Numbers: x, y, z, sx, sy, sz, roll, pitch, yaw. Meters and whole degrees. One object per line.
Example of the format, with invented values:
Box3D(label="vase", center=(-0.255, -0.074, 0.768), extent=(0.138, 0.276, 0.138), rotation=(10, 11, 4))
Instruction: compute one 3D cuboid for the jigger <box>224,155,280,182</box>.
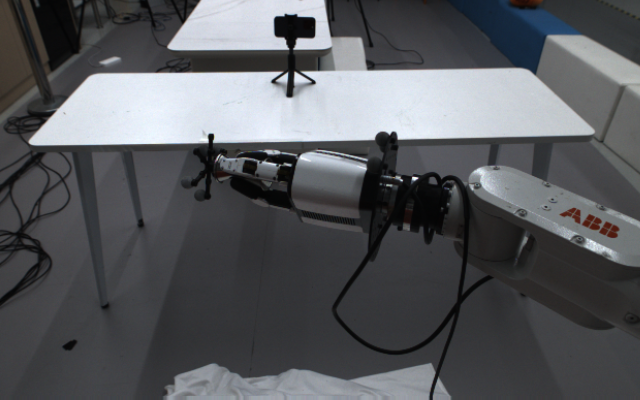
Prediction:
Box3D(label="jigger", center=(-0.093, -0.042, 0.632), extent=(0.071, 0.043, 0.043), rotation=(8, 35, 15))
